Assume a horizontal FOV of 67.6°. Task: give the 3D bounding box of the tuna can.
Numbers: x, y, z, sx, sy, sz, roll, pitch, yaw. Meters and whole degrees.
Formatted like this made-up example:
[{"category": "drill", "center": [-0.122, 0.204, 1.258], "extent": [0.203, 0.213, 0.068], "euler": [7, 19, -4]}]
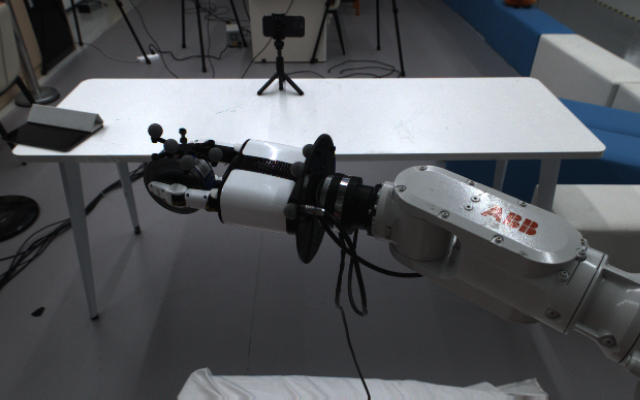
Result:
[{"category": "tuna can", "center": [-0.179, -0.024, 0.625], "extent": [0.085, 0.085, 0.034], "euler": [9, 34, 10]}]
